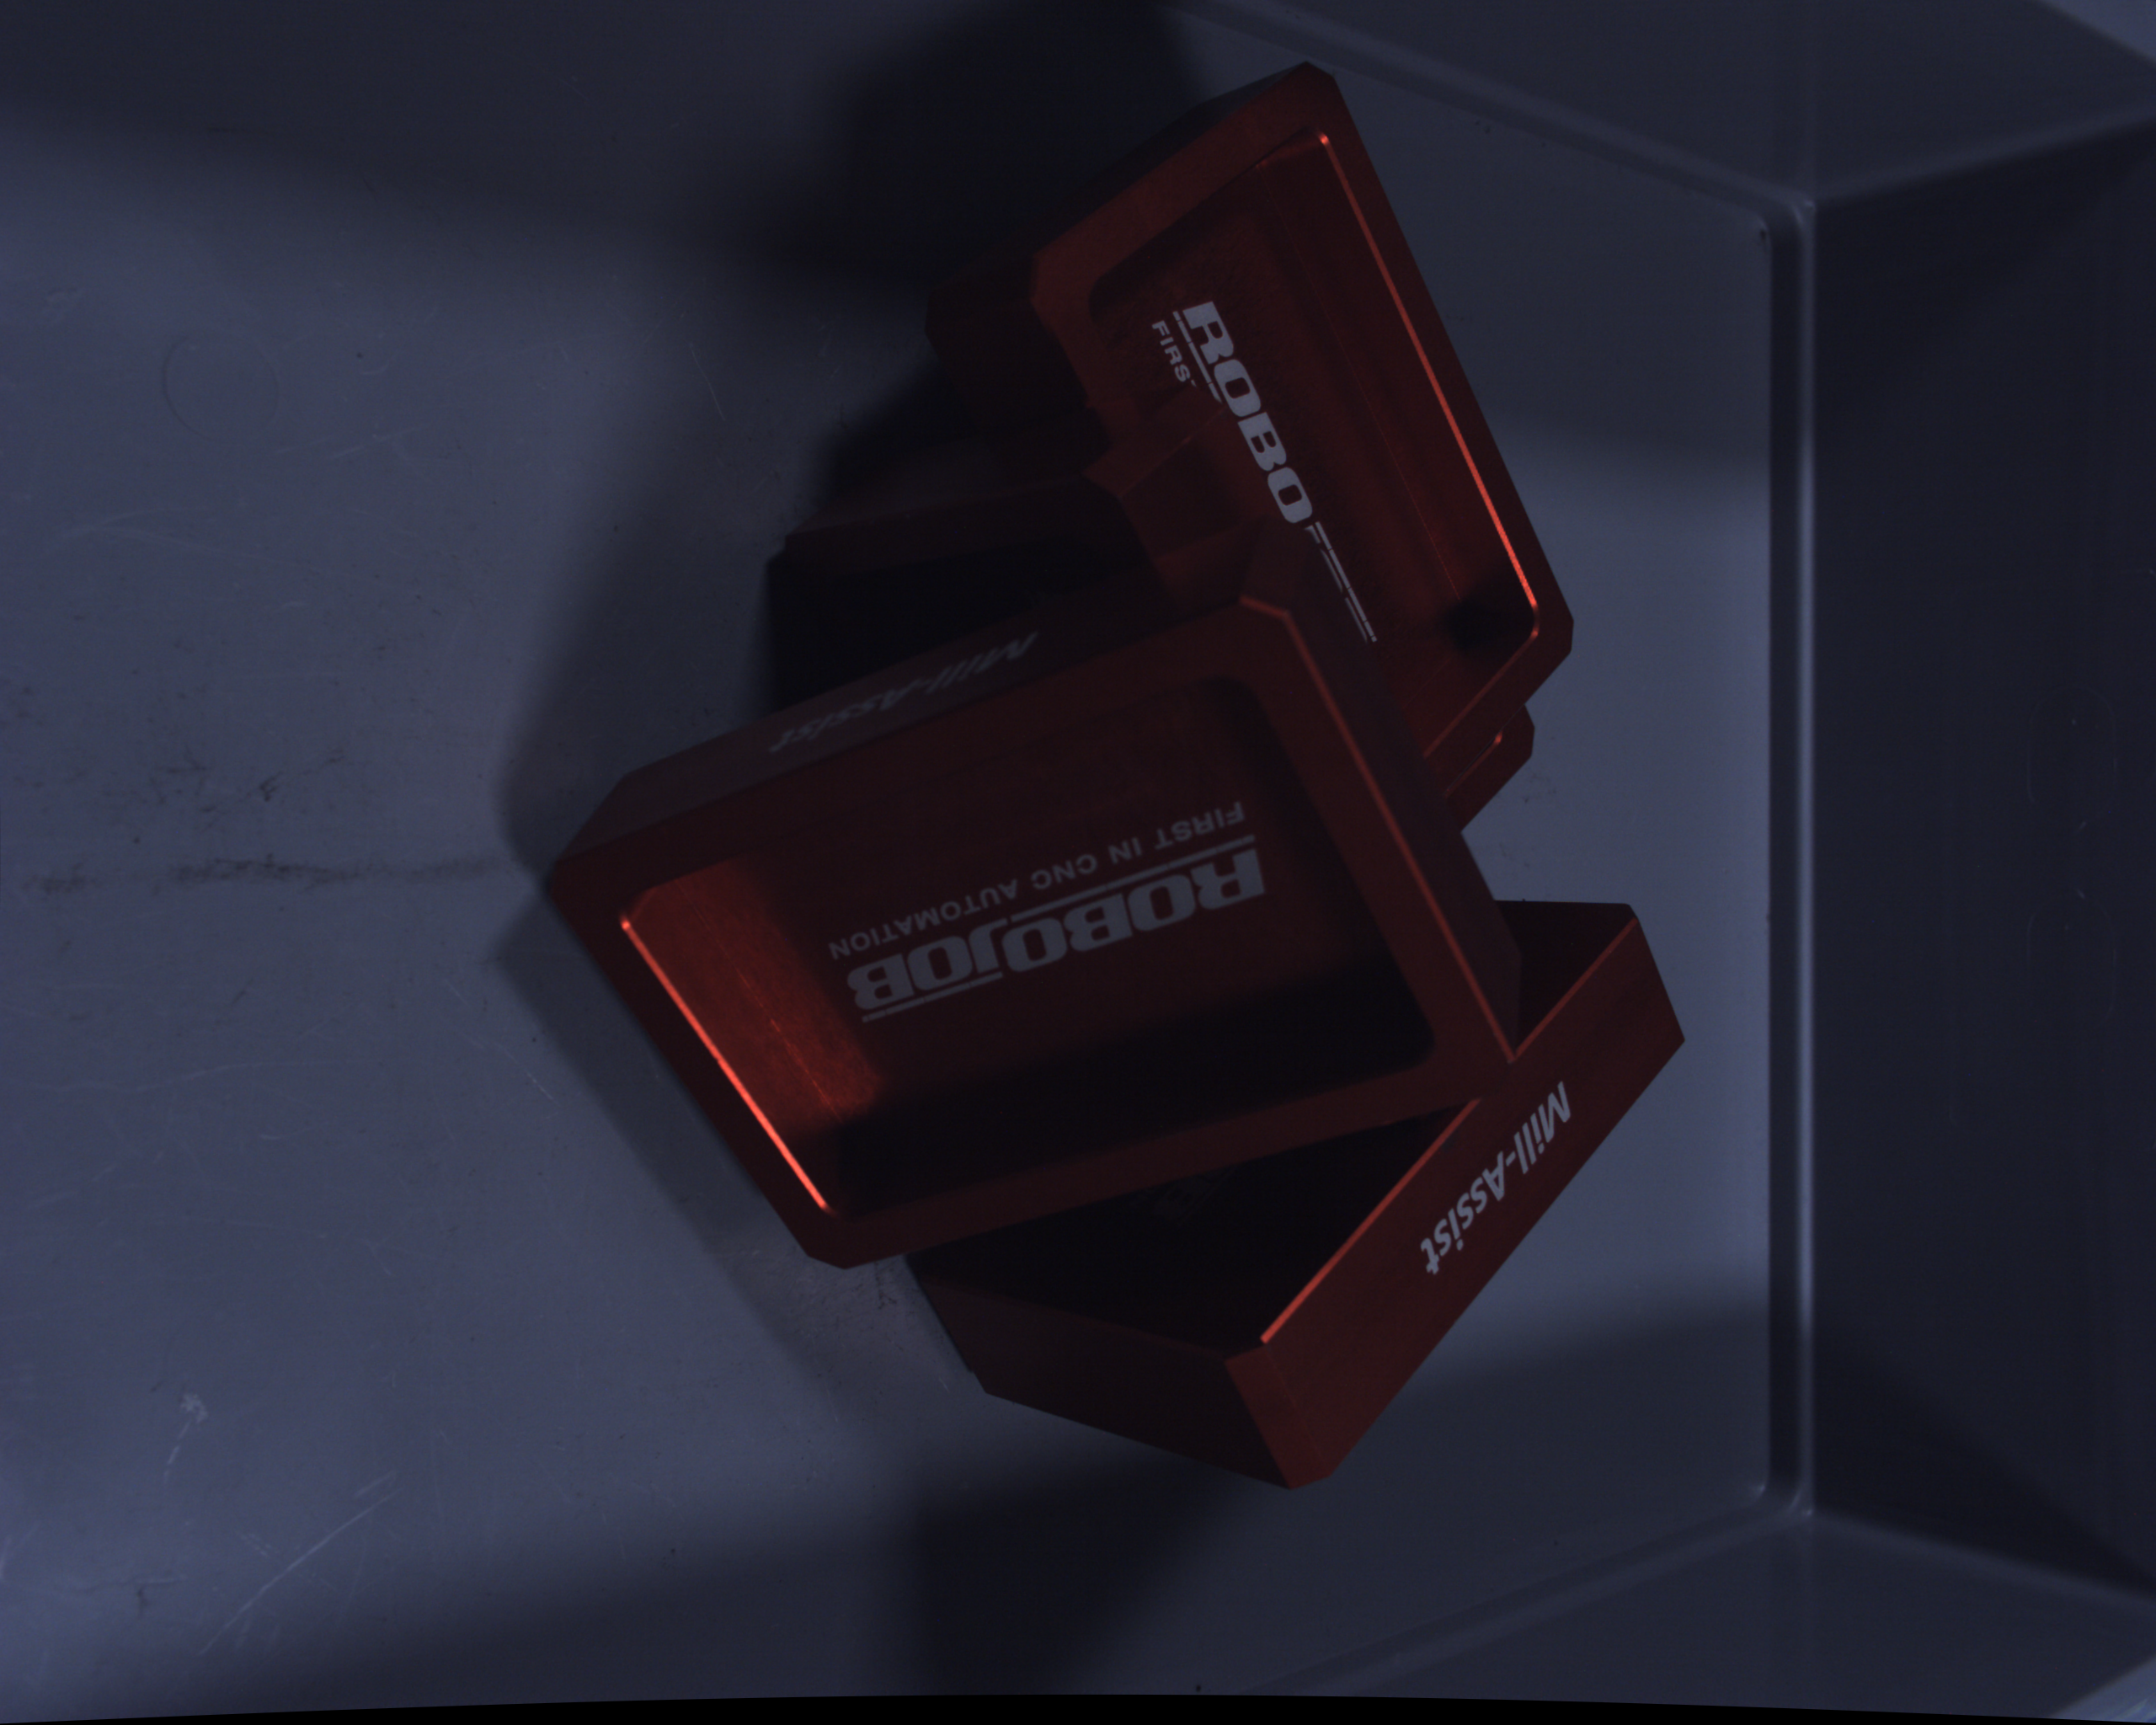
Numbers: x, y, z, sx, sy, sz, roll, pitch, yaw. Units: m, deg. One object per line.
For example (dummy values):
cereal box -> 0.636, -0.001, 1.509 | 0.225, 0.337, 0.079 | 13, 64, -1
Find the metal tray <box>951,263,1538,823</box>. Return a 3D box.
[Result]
metal tray -> 0.039, -0.055, 0.438 | 0.090, 0.030, 0.130 | -41, 114, -31

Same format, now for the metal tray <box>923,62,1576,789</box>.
metal tray -> 0.038, -0.071, 0.396 | 0.090, 0.030, 0.130 | -44, 116, -31

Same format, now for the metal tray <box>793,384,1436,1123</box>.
metal tray -> 0.014, -0.015, 0.374 | 0.030, 0.090, 0.130 | -45, 117, -31

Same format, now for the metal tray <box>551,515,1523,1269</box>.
metal tray -> -0.006, 0.010, 0.334 | 0.090, 0.130, 0.030 | 60, 25, -23

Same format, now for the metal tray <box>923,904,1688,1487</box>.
metal tray -> 0.045, 0.055, 0.402 | 0.131, 0.090, 0.030 | -40, 115, -33
